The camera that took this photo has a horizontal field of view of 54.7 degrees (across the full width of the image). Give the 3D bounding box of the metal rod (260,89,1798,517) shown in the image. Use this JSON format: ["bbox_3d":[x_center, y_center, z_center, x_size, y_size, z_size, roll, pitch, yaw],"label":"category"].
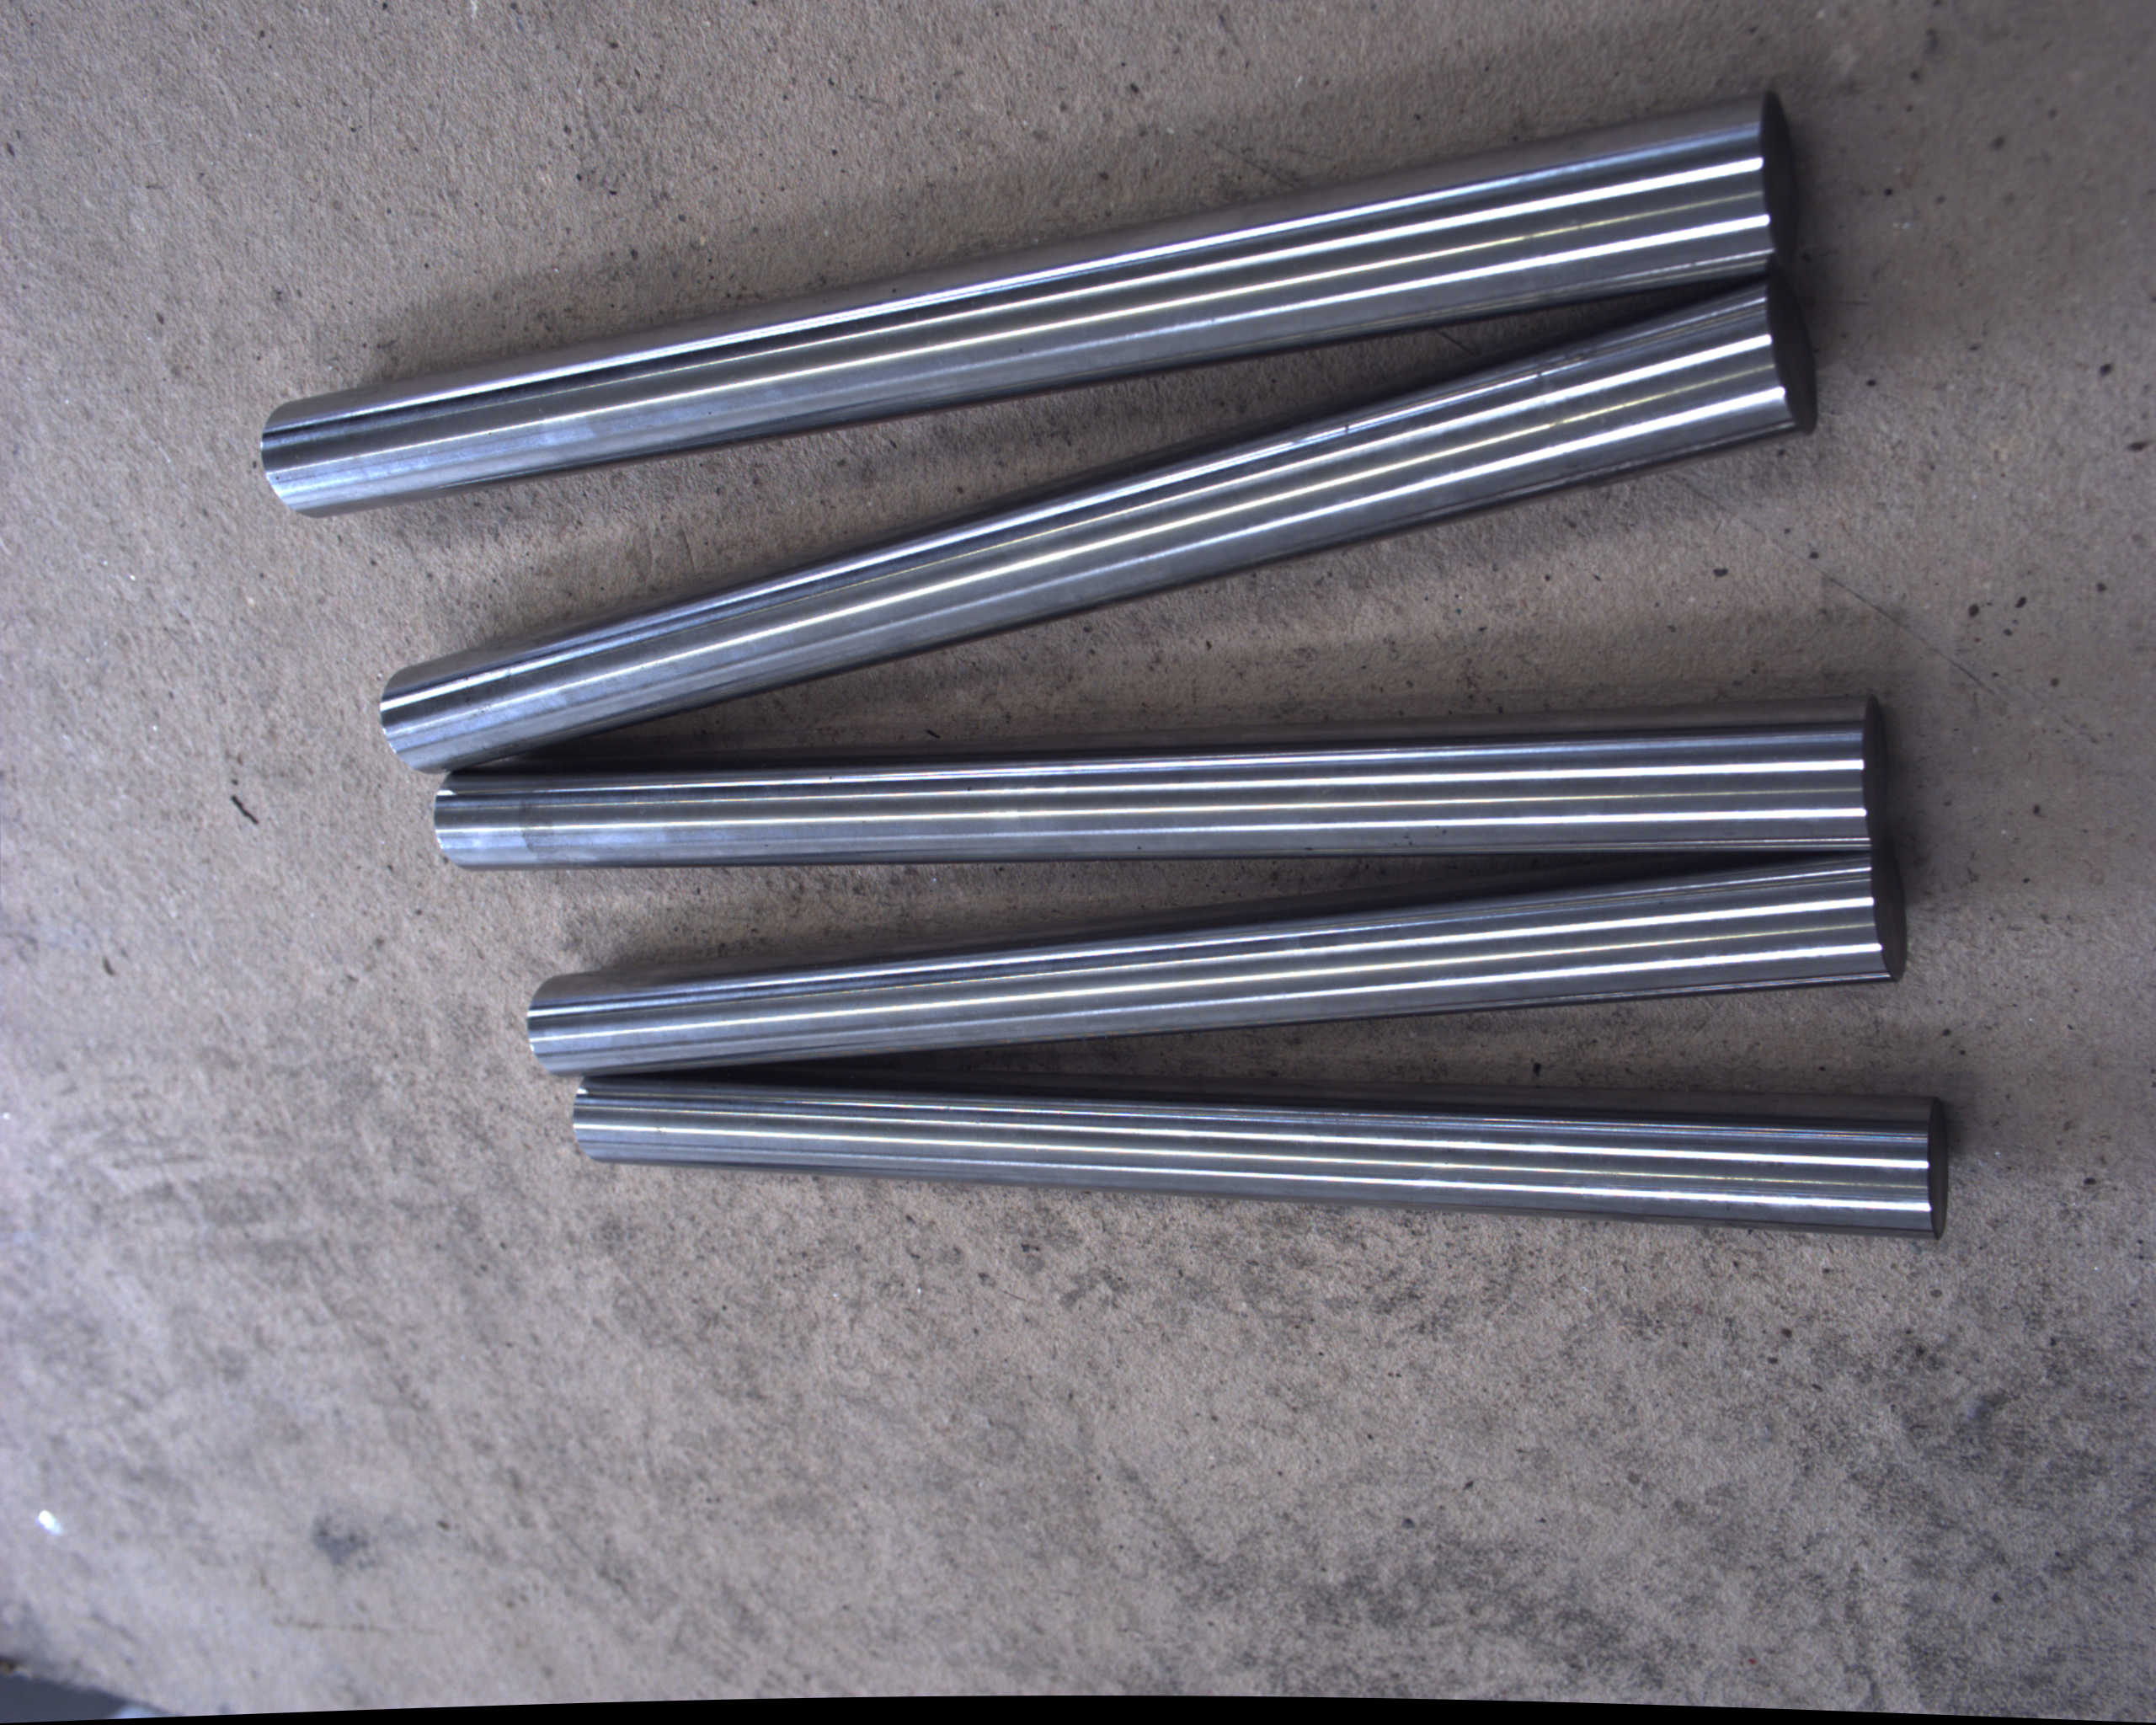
[{"bbox_3d":[-0.031,-0.091,0.369,0.300,0.025,0.025,-2,117,29],"label":"metal rod"}]

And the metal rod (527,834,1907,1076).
[{"bbox_3d":[0.006,0.023,0.420,0.300,0.025,0.025,-7,115,31],"label":"metal rod"}]

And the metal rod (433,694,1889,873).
[{"bbox_3d":[-0.005,-0.012,0.403,0.300,0.025,0.025,-1,118,28],"label":"metal rod"}]

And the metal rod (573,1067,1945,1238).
[{"bbox_3d":[0.018,0.057,0.434,0.300,0.025,0.025,-2,118,29],"label":"metal rod"}]

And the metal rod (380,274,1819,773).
[{"bbox_3d":[-0.020,-0.054,0.386,0.300,0.025,0.025,-10,114,32],"label":"metal rod"}]
